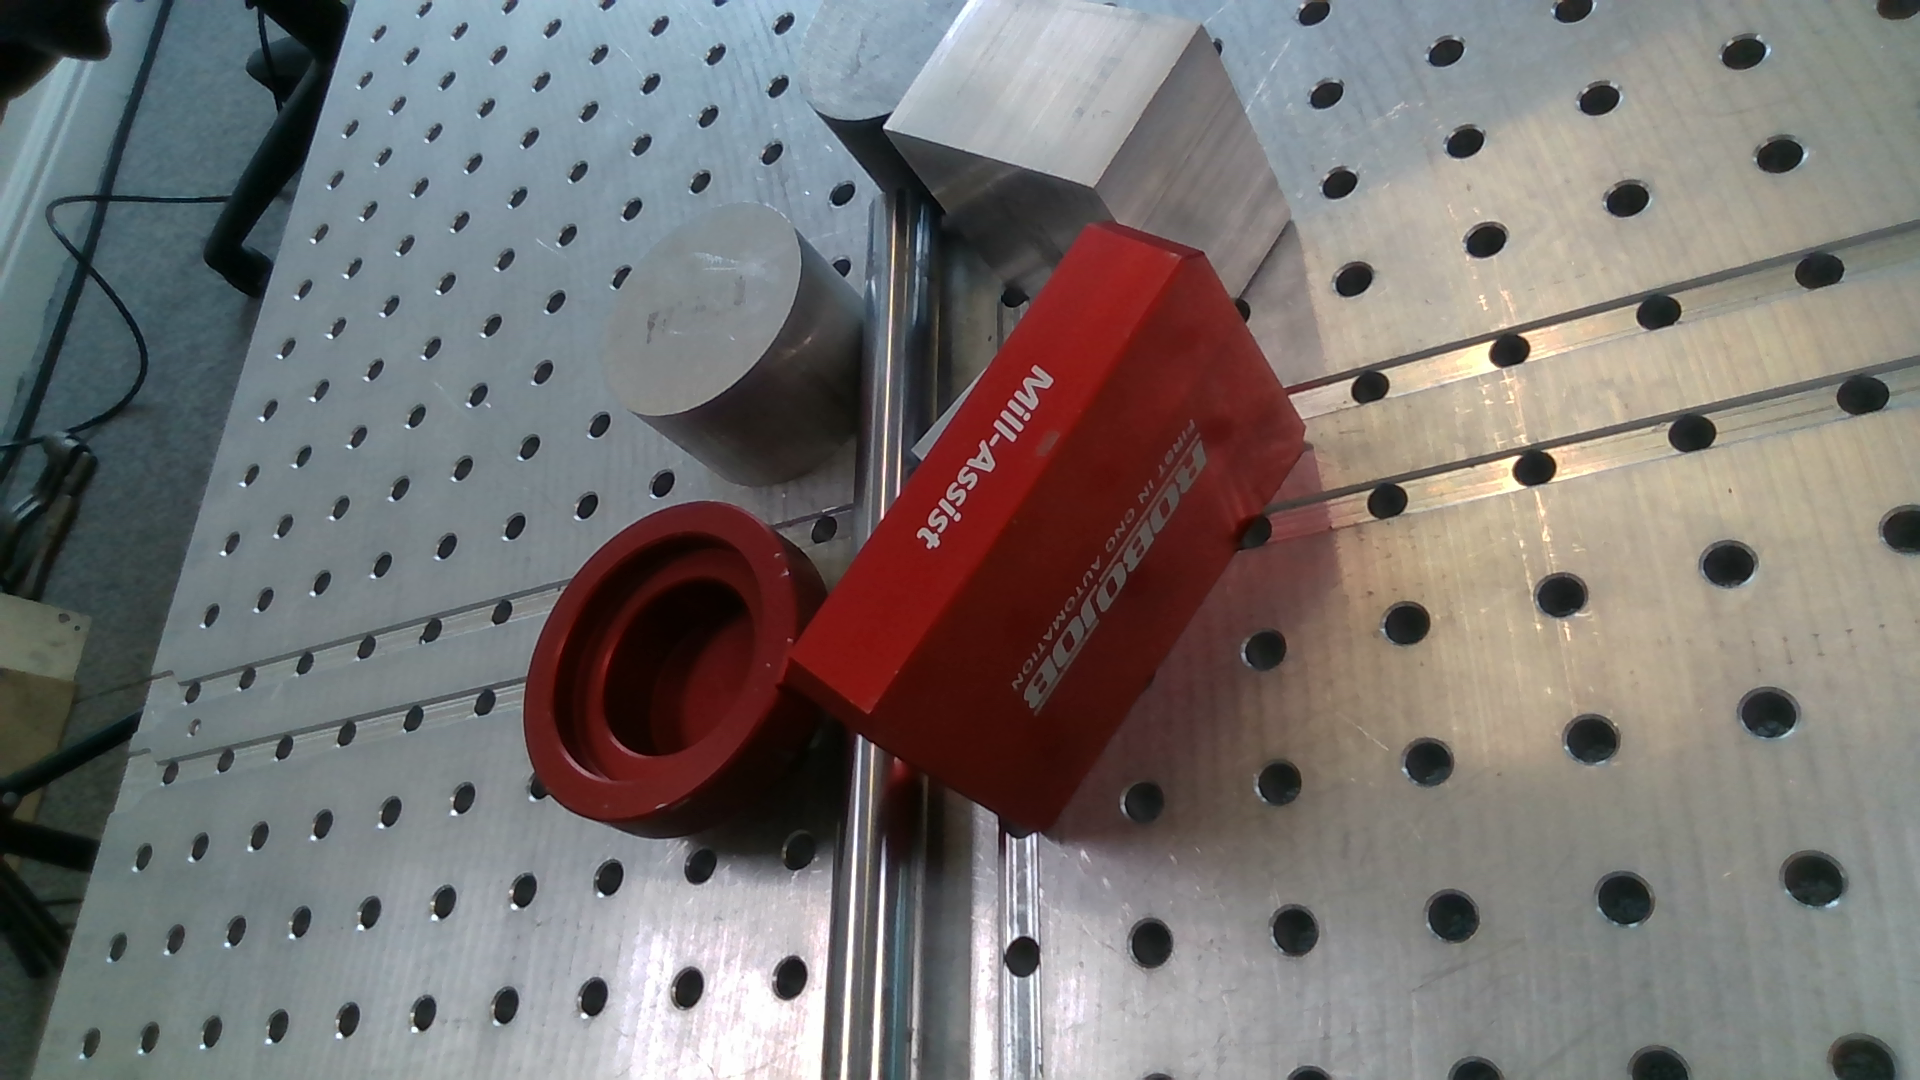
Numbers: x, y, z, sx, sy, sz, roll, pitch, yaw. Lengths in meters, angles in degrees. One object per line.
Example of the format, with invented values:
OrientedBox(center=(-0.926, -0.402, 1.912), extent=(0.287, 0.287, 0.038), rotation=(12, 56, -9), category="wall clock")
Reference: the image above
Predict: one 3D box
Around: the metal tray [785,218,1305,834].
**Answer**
OrientedBox(center=(0.026, 0.000, 0.337), extent=(0.030, 0.090, 0.130), rotation=(31, 84, 39), category="metal tray")

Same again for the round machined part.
OrientedBox(center=(-0.078, 0.041, 0.412), extent=(0.098, 0.042, 0.098), rotation=(-14, 59, 25), category="round machined part")

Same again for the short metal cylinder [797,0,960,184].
OrientedBox(center=(-0.008, -0.160, 0.469), extent=(0.080, 0.050, 0.080), rotation=(-14, 59, 25), category="short metal cylinder")

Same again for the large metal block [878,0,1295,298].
OrientedBox(center=(0.037, -0.105, 0.393), extent=(0.080, 0.080, 0.050), rotation=(28, 83, 38), category="large metal block")

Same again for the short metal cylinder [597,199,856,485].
OrientedBox(center=(-0.073, -0.065, 0.458), extent=(0.080, 0.050, 0.080), rotation=(-14, 59, 25), category="short metal cylinder")

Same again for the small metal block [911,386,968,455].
OrientedBox(center=(0.023, -0.027, 0.397), extent=(0.050, 0.025, 0.050), rotation=(-47, 51, 2), category="small metal block")

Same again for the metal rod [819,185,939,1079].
OrientedBox(center=(-0.021, 0.021, 0.398), extent=(0.025, 0.025, 0.299), rotation=(-14, 59, 25), category="metal rod")
